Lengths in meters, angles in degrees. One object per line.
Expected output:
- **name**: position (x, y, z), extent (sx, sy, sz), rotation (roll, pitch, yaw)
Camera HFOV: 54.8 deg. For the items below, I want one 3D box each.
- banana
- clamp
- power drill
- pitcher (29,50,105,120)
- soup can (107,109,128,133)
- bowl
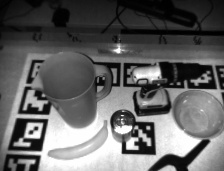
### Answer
- **banana**: position (-0.110, 0.147, 0.646), extent (0.198, 0.039, 0.073), rotation (-21, 56, -12)
- **clamp**: position (0.179, 0.209, 0.603), extent (0.203, 0.037, 0.165), rotation (-1, 67, 0)
- **power drill**: position (0.134, -0.024, 0.625), extent (0.185, 0.188, 0.057), rotation (-4, 63, -1)
- **pitcher**: position (-0.106, 0.000, 0.604), extent (0.189, 0.244, 0.132), rotation (-21, 61, -9)
- **soup can**: position (0.015, 0.090, 0.638), extent (0.068, 0.102, 0.067), rotation (-1, 54, 2)
- **bowl**: position (0.243, 0.068, 0.672), extent (0.161, 0.055, 0.161), rotation (0, 64, 1)
